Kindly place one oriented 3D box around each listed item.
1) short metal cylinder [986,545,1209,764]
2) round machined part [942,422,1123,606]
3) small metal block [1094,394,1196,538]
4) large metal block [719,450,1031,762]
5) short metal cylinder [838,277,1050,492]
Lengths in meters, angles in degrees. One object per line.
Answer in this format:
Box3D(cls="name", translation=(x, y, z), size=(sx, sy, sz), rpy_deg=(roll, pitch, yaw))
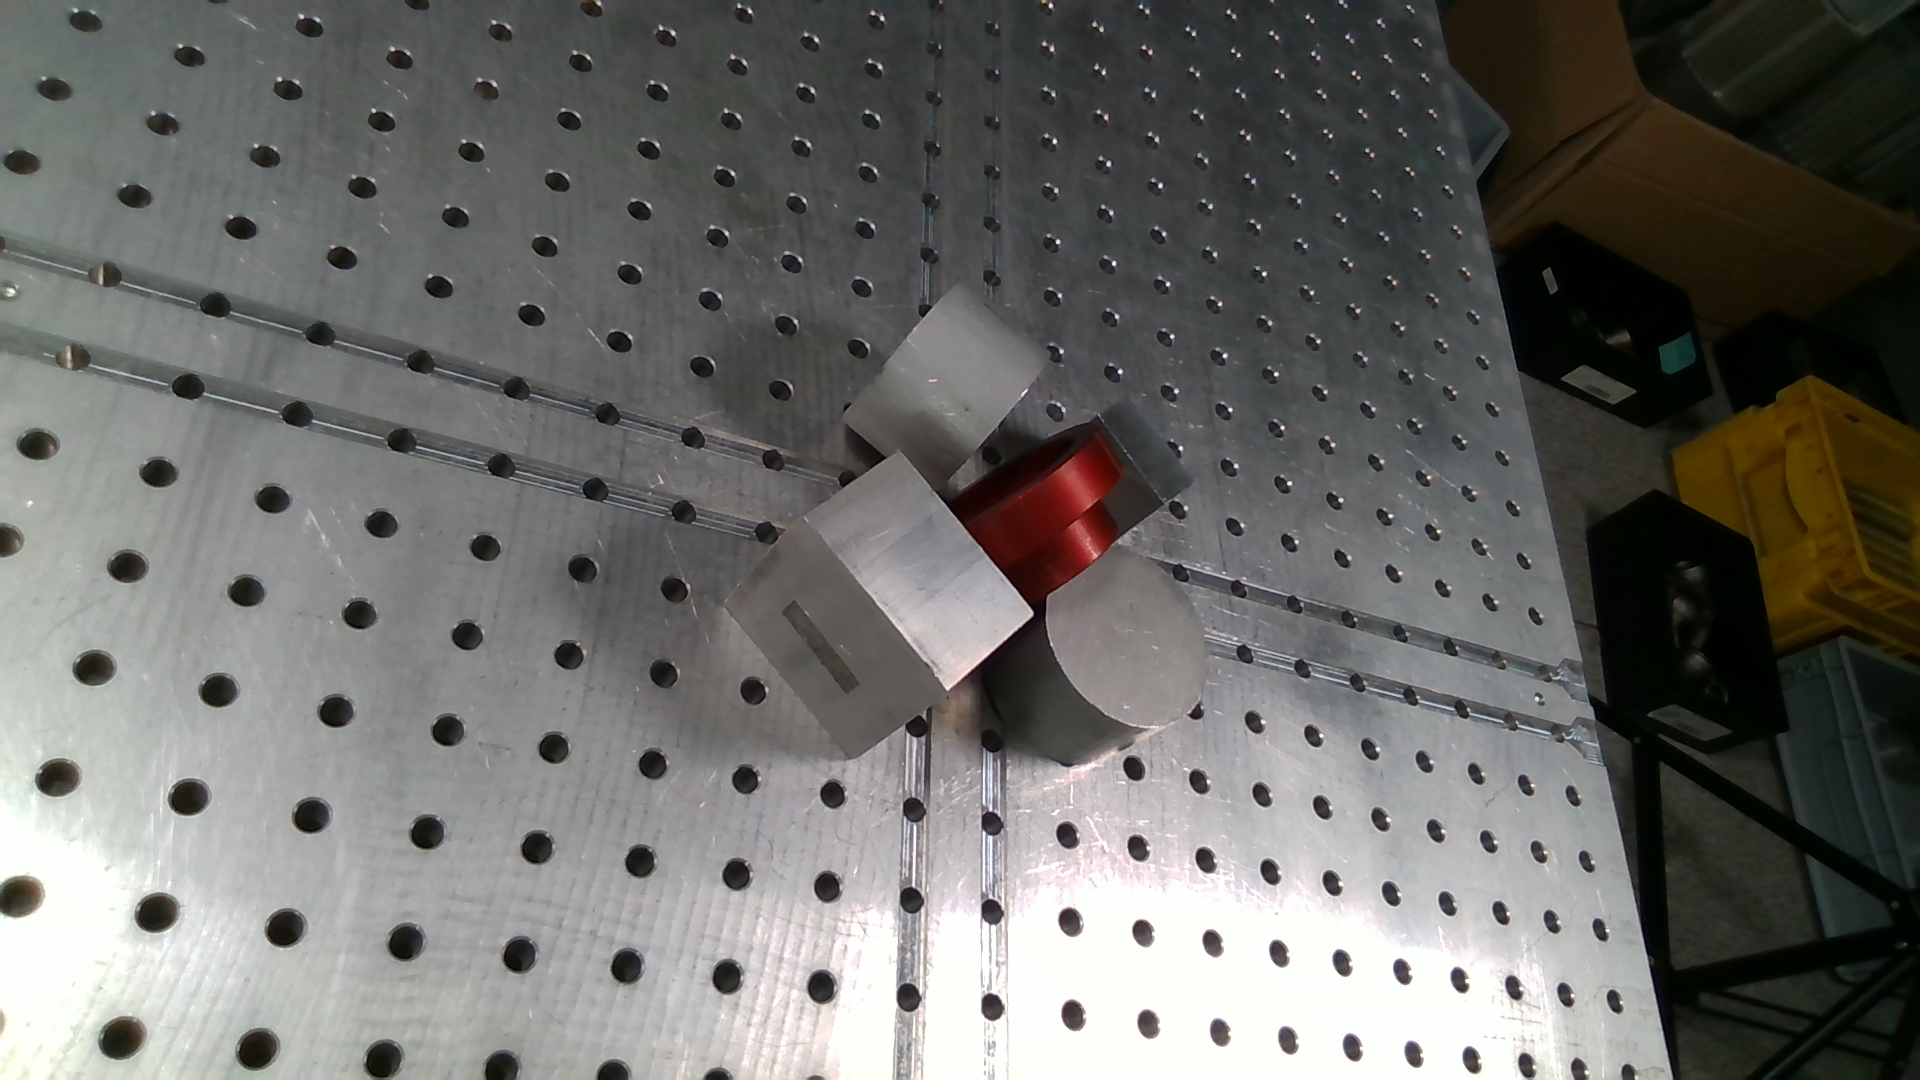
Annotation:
Box3D(cls="short metal cylinder", translation=(0.057, 0.049, 0.582), size=(0.080, 0.050, 0.080), rpy_deg=(14, 59, -25))
Box3D(cls="round machined part", translation=(0.025, -0.005, 0.561), size=(0.098, 0.098, 0.042), rpy_deg=(-42, 102, -39))
Box3D(cls="small metal block", translation=(0.071, -0.030, 0.633), size=(0.025, 0.050, 0.050), rpy_deg=(-33, 85, -39))
Box3D(cls="large metal block", translation=(-0.034, 0.027, 0.519), size=(0.080, 0.080, 0.050), rpy_deg=(50, 51, 1))
Box3D(cls="short metal cylinder", translation=(-0.007, -0.066, 0.584), size=(0.050, 0.080, 0.080), rpy_deg=(41, 51, -7))
